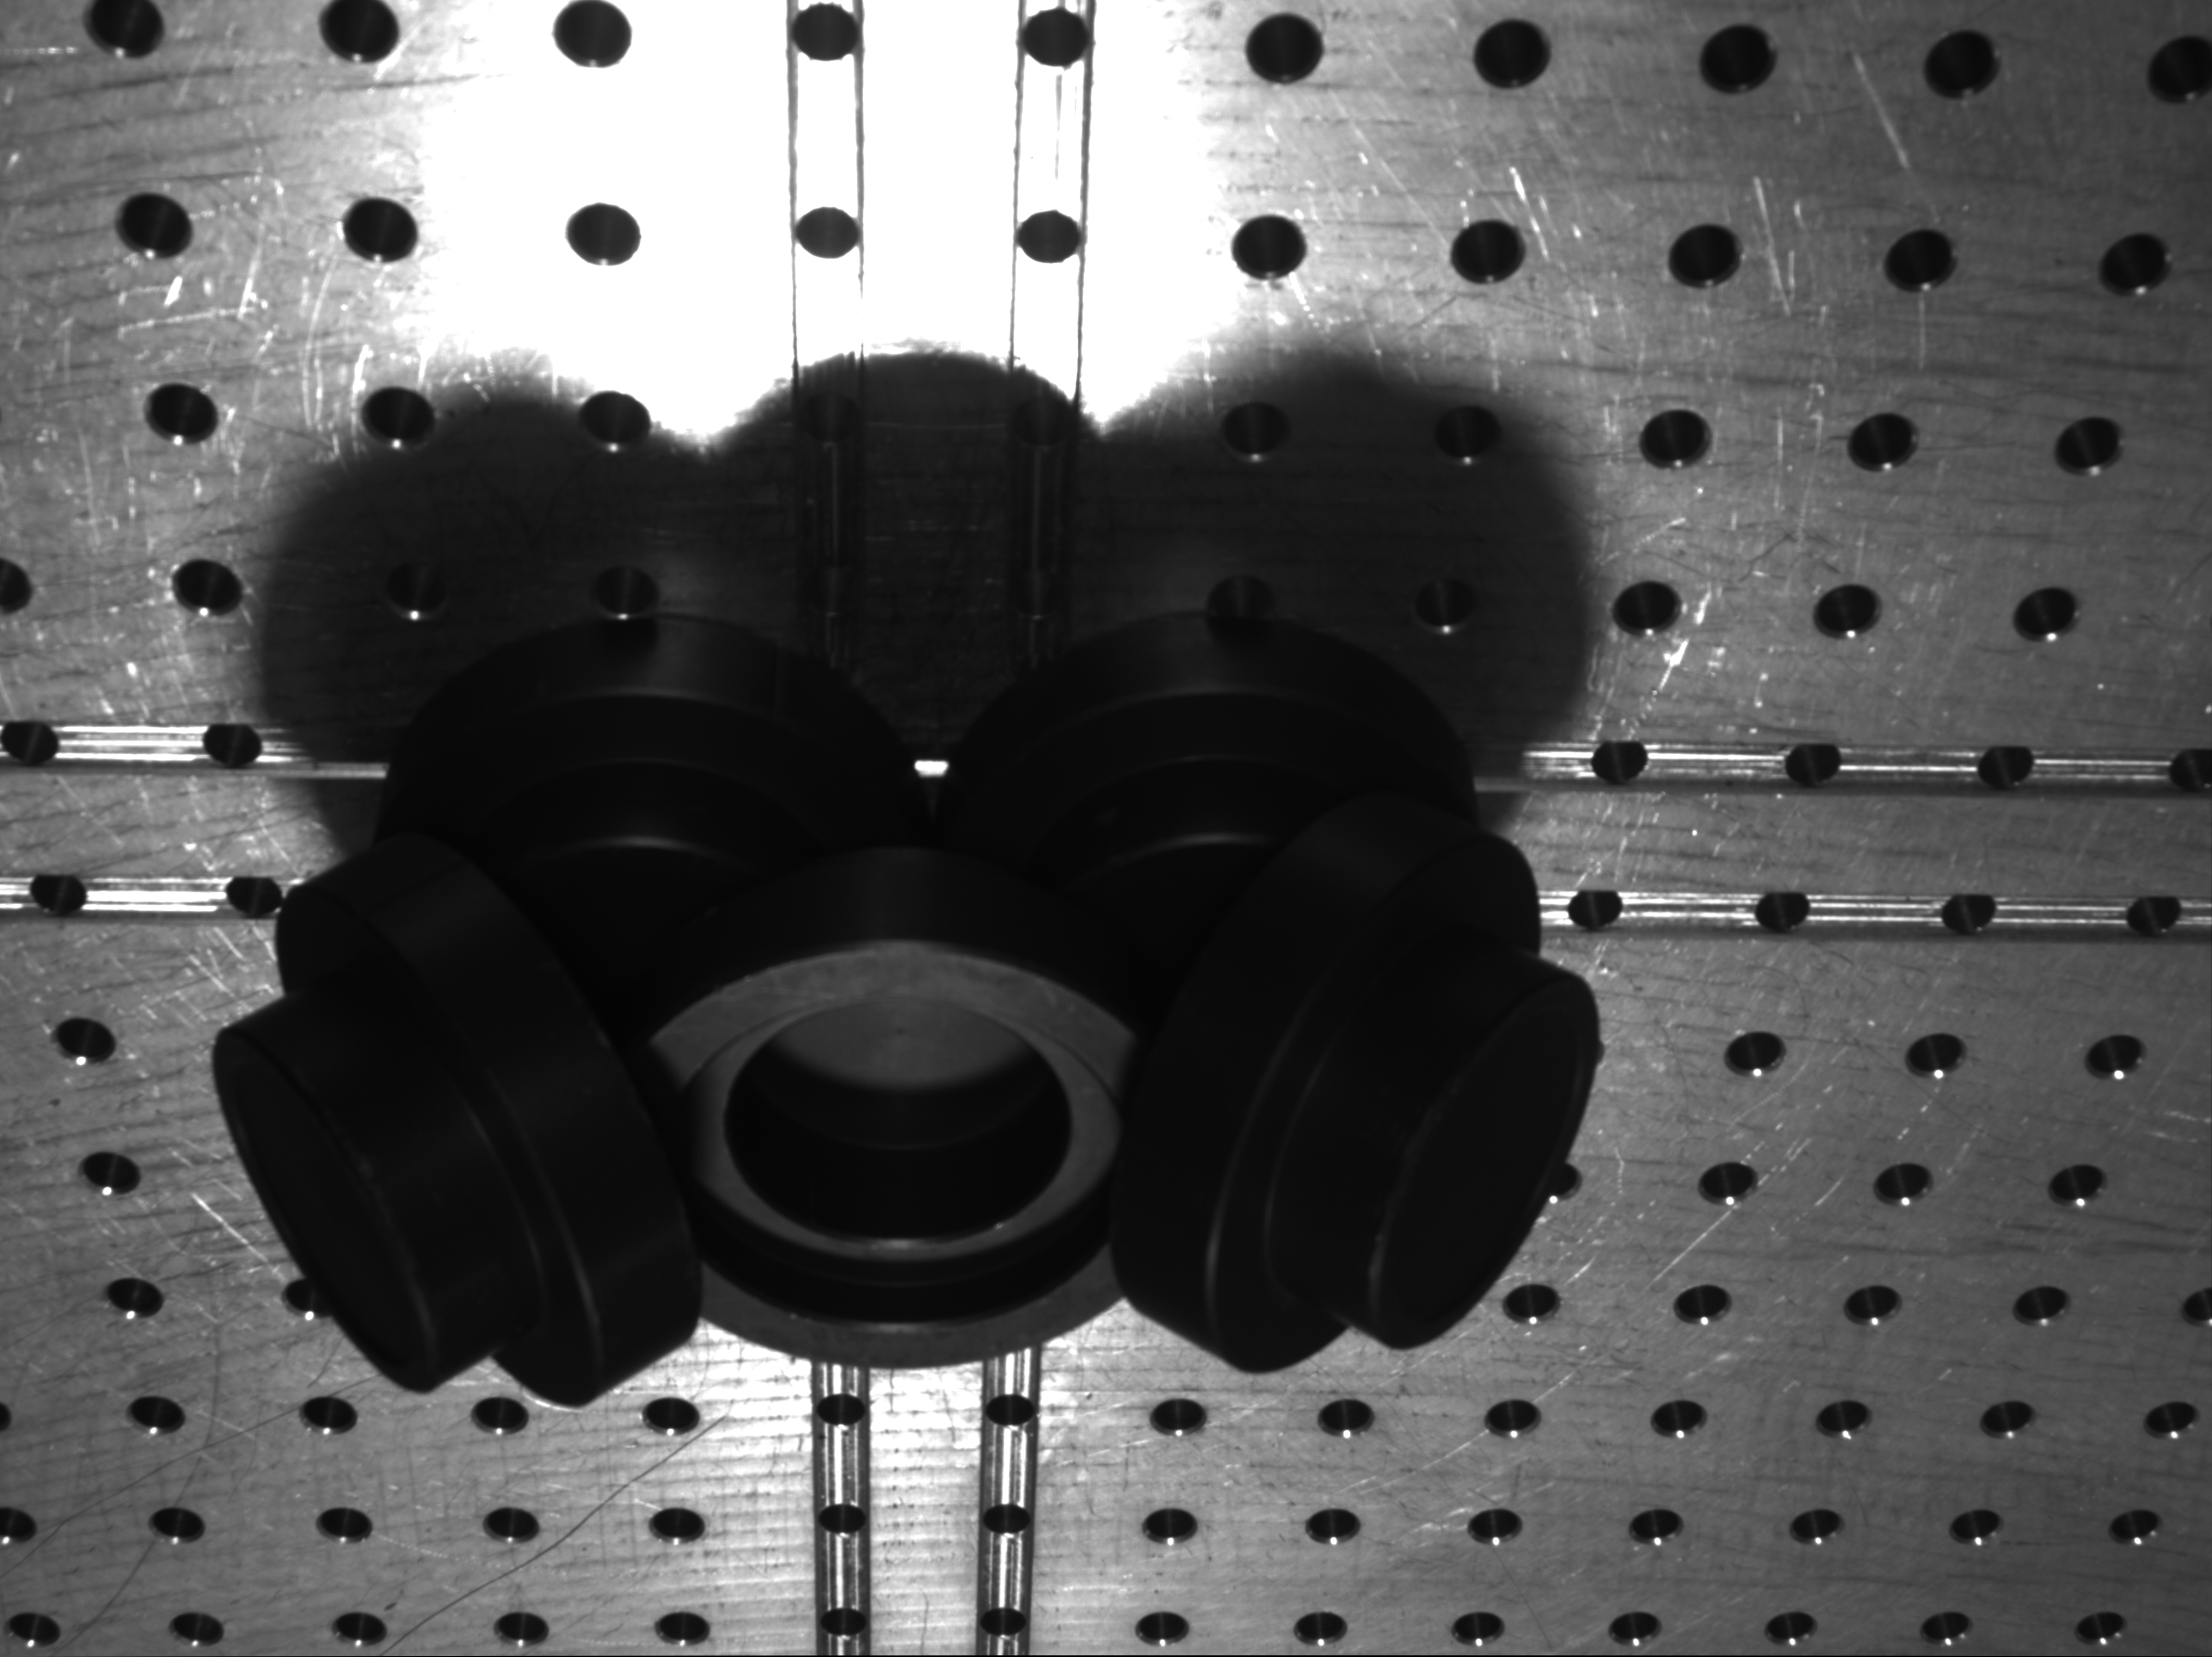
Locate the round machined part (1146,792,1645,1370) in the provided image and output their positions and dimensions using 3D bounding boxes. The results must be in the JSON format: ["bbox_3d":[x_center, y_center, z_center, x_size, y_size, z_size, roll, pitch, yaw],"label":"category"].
[{"bbox_3d":[0.053,0.047,0.605,0.042,0.098,0.098,28,137,28],"label":"round machined part"}]

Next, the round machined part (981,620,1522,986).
[{"bbox_3d":[0.026,0.015,0.643,0.098,0.042,0.098,-1,130,-1],"label":"round machined part"}]

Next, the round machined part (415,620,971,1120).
[{"bbox_3d":[-0.072,0.015,0.640,0.098,0.042,0.098,-1,130,-1],"label":"round machined part"}]

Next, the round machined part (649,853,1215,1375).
[{"bbox_3d":[-0.027,0.043,0.609,0.098,0.042,0.098,-1,130,-1],"label":"round machined part"}]

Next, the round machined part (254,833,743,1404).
[{"bbox_3d":[-0.105,0.053,0.605,0.042,0.098,0.098,-30,136,-26],"label":"round machined part"}]
